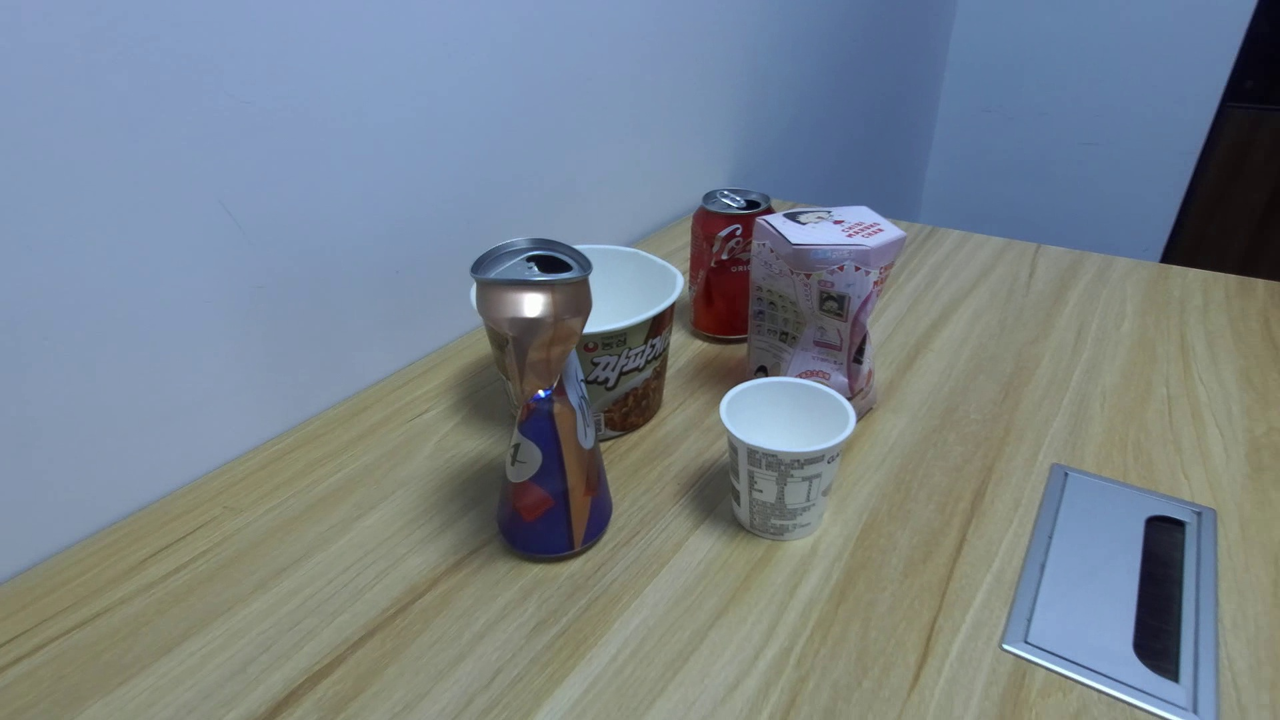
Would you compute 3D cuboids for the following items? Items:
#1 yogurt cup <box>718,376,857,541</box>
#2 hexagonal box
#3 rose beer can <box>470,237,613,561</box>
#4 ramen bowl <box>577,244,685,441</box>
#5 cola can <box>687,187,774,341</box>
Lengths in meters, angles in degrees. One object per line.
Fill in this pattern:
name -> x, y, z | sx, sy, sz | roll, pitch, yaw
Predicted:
yogurt cup -> 0.078, 0.056, 0.390 | 0.072, 0.068, 0.072 | -1, 31, 1
hexagonal box -> 0.118, -0.026, 0.466 | 0.093, 0.135, 0.089 | 3, 30, 7
rose beer can -> -0.051, 0.025, 0.368 | 0.073, 0.162, 0.068 | 25, 38, 38
ramen bowl -> -0.040, -0.010, 0.488 | 0.140, 0.095, 0.140 | -1, 29, 1
cola can -> 0.075, -0.076, 0.572 | 0.067, 0.117, 0.065 | -16, 31, -25
